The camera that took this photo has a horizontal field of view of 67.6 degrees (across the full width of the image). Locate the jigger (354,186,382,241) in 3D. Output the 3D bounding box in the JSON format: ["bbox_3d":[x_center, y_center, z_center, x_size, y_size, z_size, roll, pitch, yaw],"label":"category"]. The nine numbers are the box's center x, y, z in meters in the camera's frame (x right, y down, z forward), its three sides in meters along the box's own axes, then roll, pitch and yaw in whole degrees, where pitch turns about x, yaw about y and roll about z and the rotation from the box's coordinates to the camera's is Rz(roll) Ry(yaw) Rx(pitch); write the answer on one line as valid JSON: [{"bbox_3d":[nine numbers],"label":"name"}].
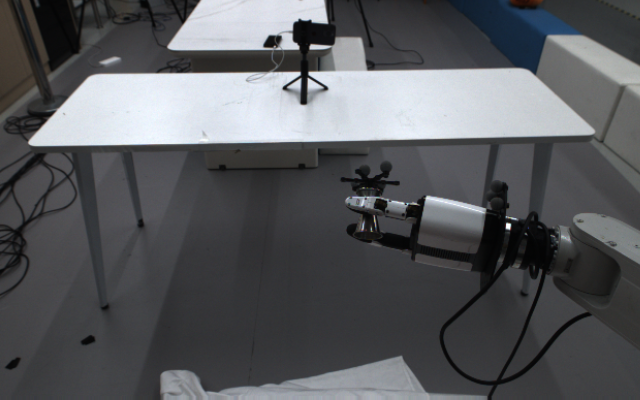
[{"bbox_3d":[0.070,0.020,0.716,0.043,0.043,0.071,4,71,3],"label":"jigger"}]
